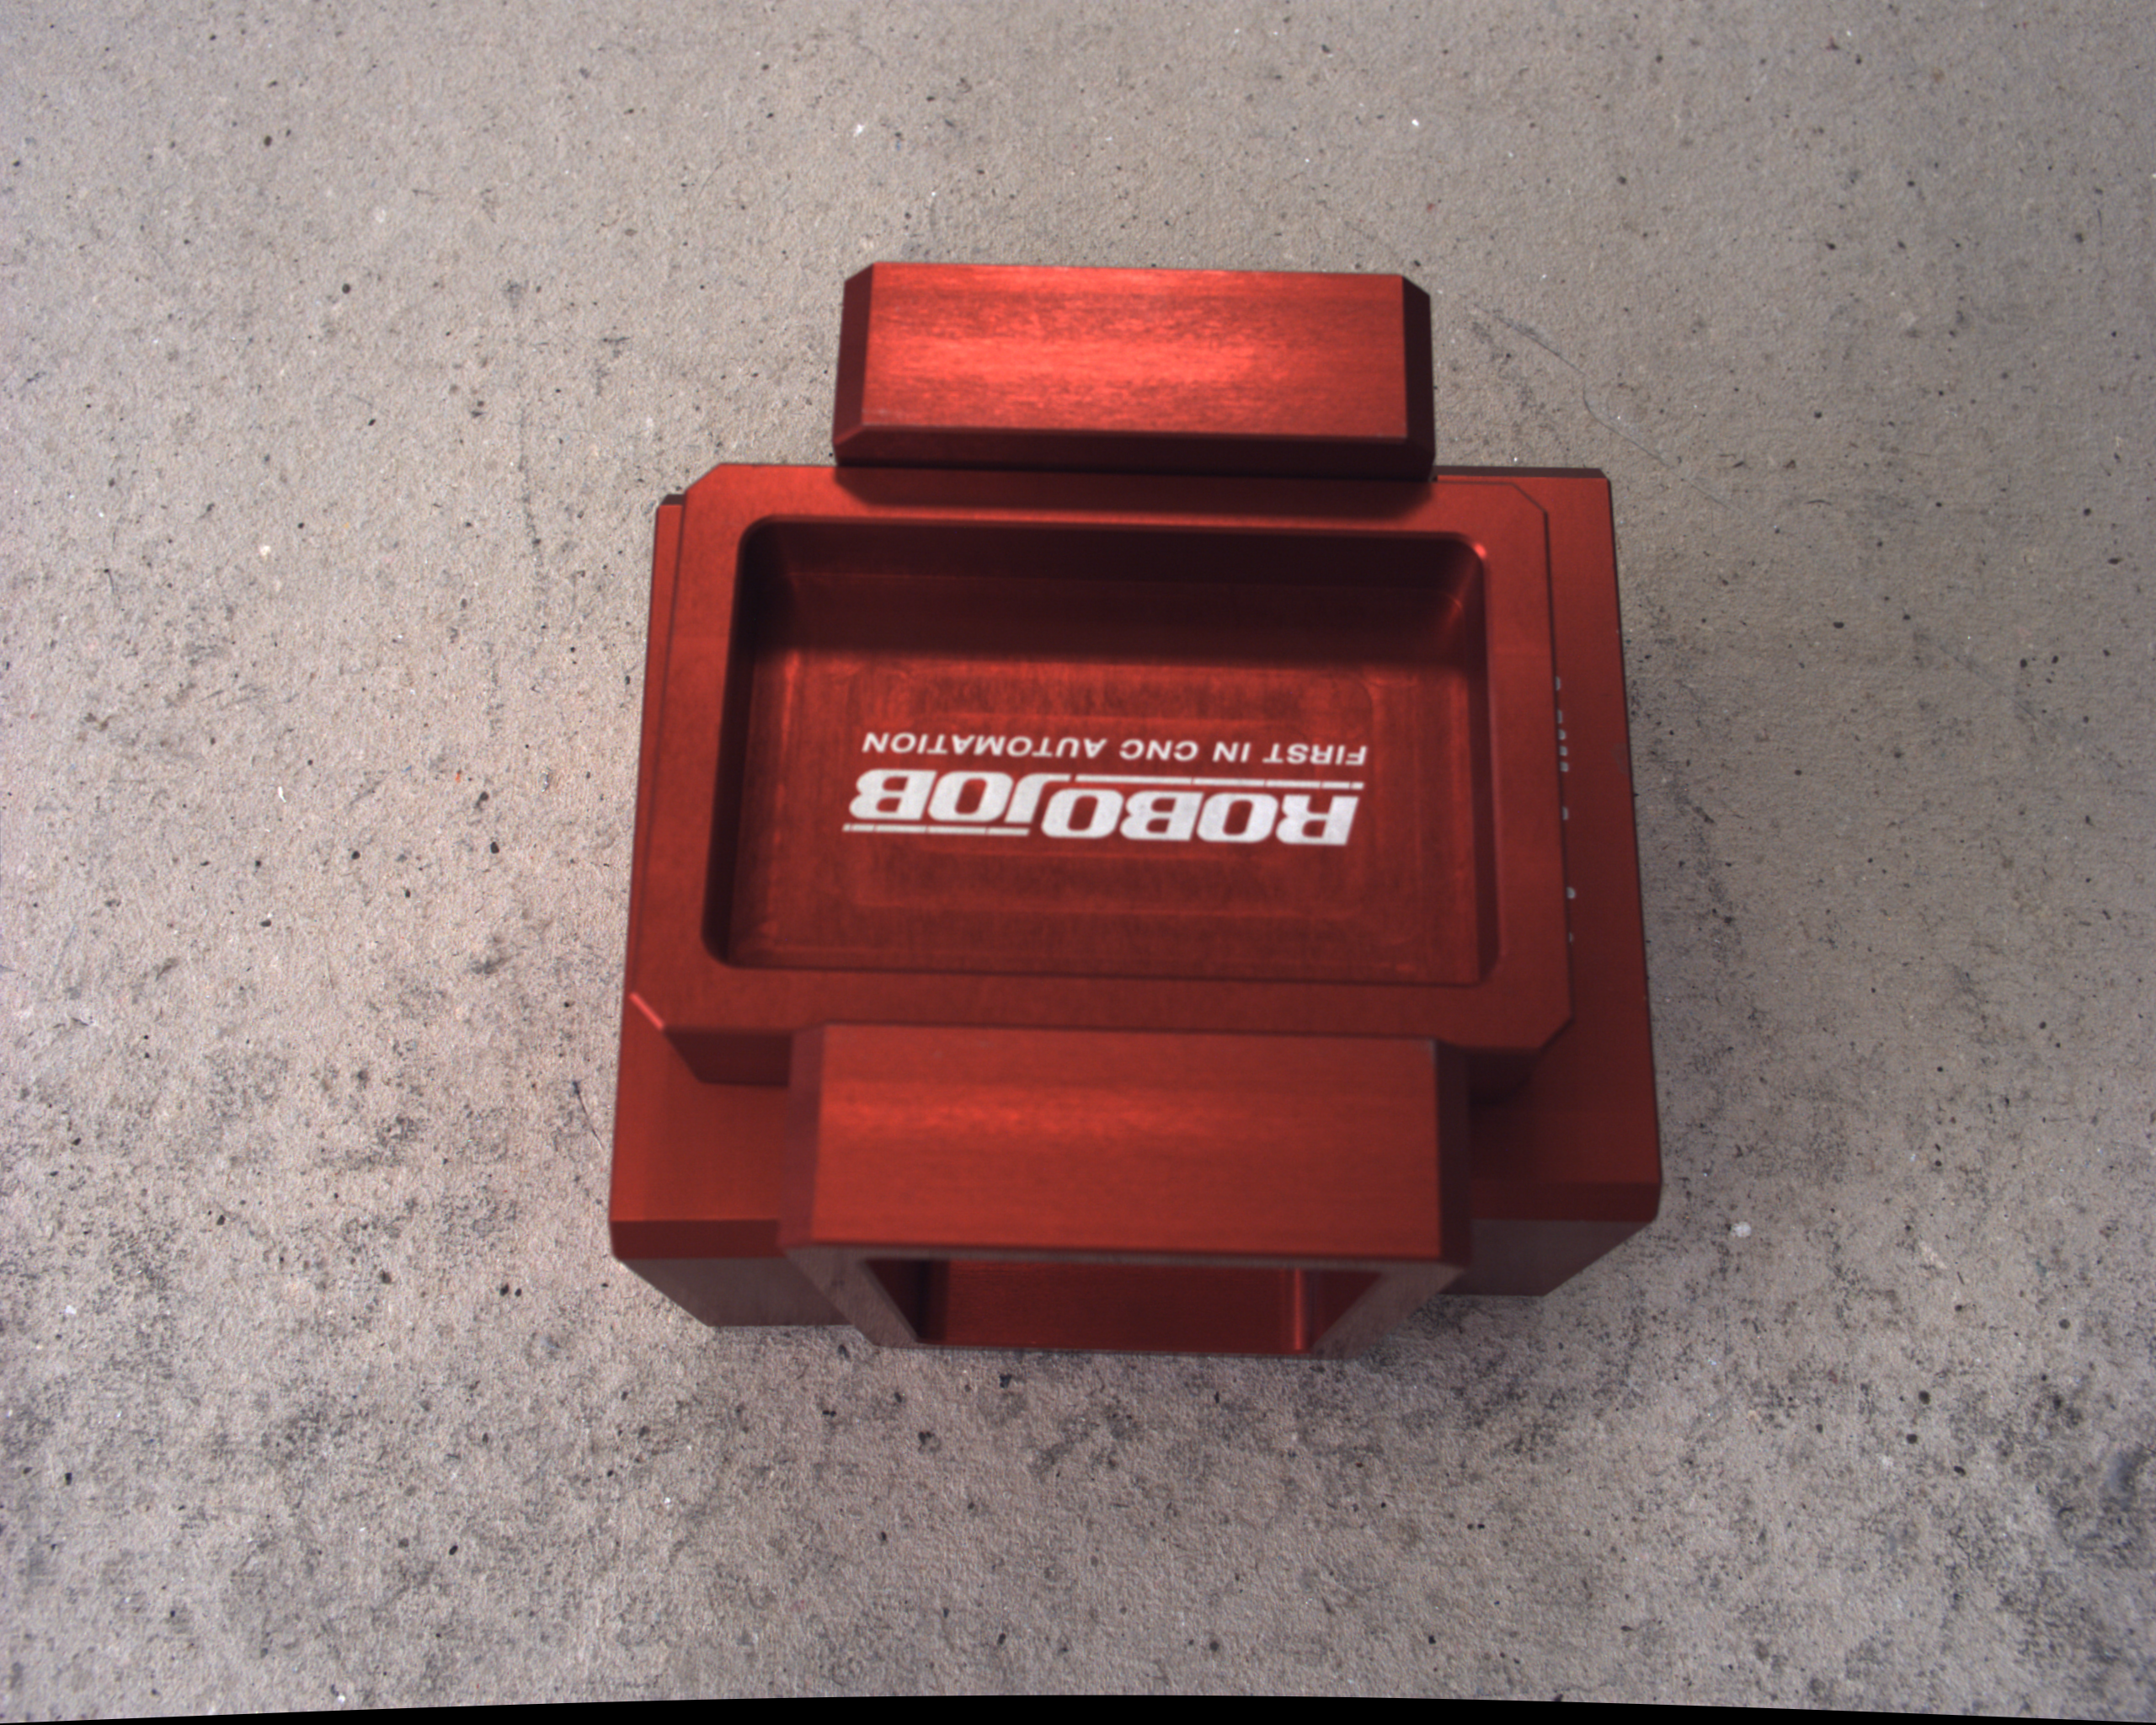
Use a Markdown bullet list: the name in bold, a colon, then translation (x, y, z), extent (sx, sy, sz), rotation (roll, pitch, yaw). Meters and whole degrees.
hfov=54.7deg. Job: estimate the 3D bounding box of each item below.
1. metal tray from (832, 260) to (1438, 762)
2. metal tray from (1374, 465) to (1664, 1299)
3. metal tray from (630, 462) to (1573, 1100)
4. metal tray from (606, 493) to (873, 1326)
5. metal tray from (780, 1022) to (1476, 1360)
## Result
- **metal tray**: translation (0.009, -0.055, 0.373), extent (0.091, 0.130, 0.030), rotation (2, 70, 0)
- **metal tray**: translation (0.074, 0.006, 0.372), extent (0.030, 0.090, 0.130), rotation (1, 69, 1)
- **metal tray**: translation (0.004, -0.013, 0.316), extent (0.131, 0.030, 0.090), rotation (2, 70, 0)
- **metal tray**: translation (-0.055, 0.011, 0.370), extent (0.030, 0.090, 0.130), rotation (0, 70, -1)
- **metal tray**: translation (0.007, 0.057, 0.332), extent (0.091, 0.130, 0.030), rotation (1, 71, 0)
